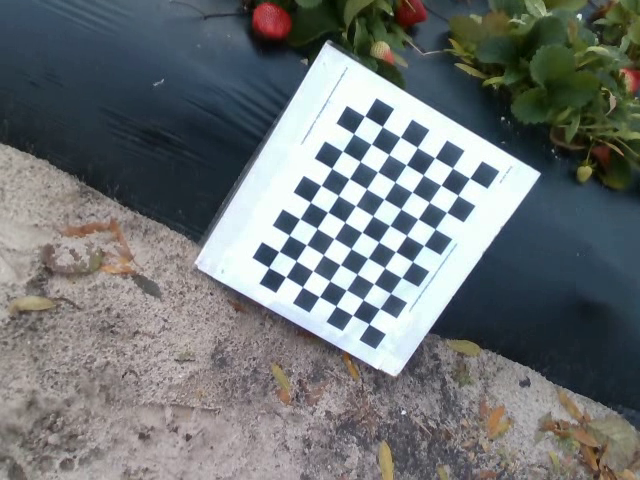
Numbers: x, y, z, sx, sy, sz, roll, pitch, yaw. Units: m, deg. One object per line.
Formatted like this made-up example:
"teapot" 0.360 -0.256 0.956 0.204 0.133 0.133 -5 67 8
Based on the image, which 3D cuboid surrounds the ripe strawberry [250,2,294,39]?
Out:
"ripe strawberry" -0.052 -0.200 0.490 0.037 0.046 0.037 -13 -40 9
